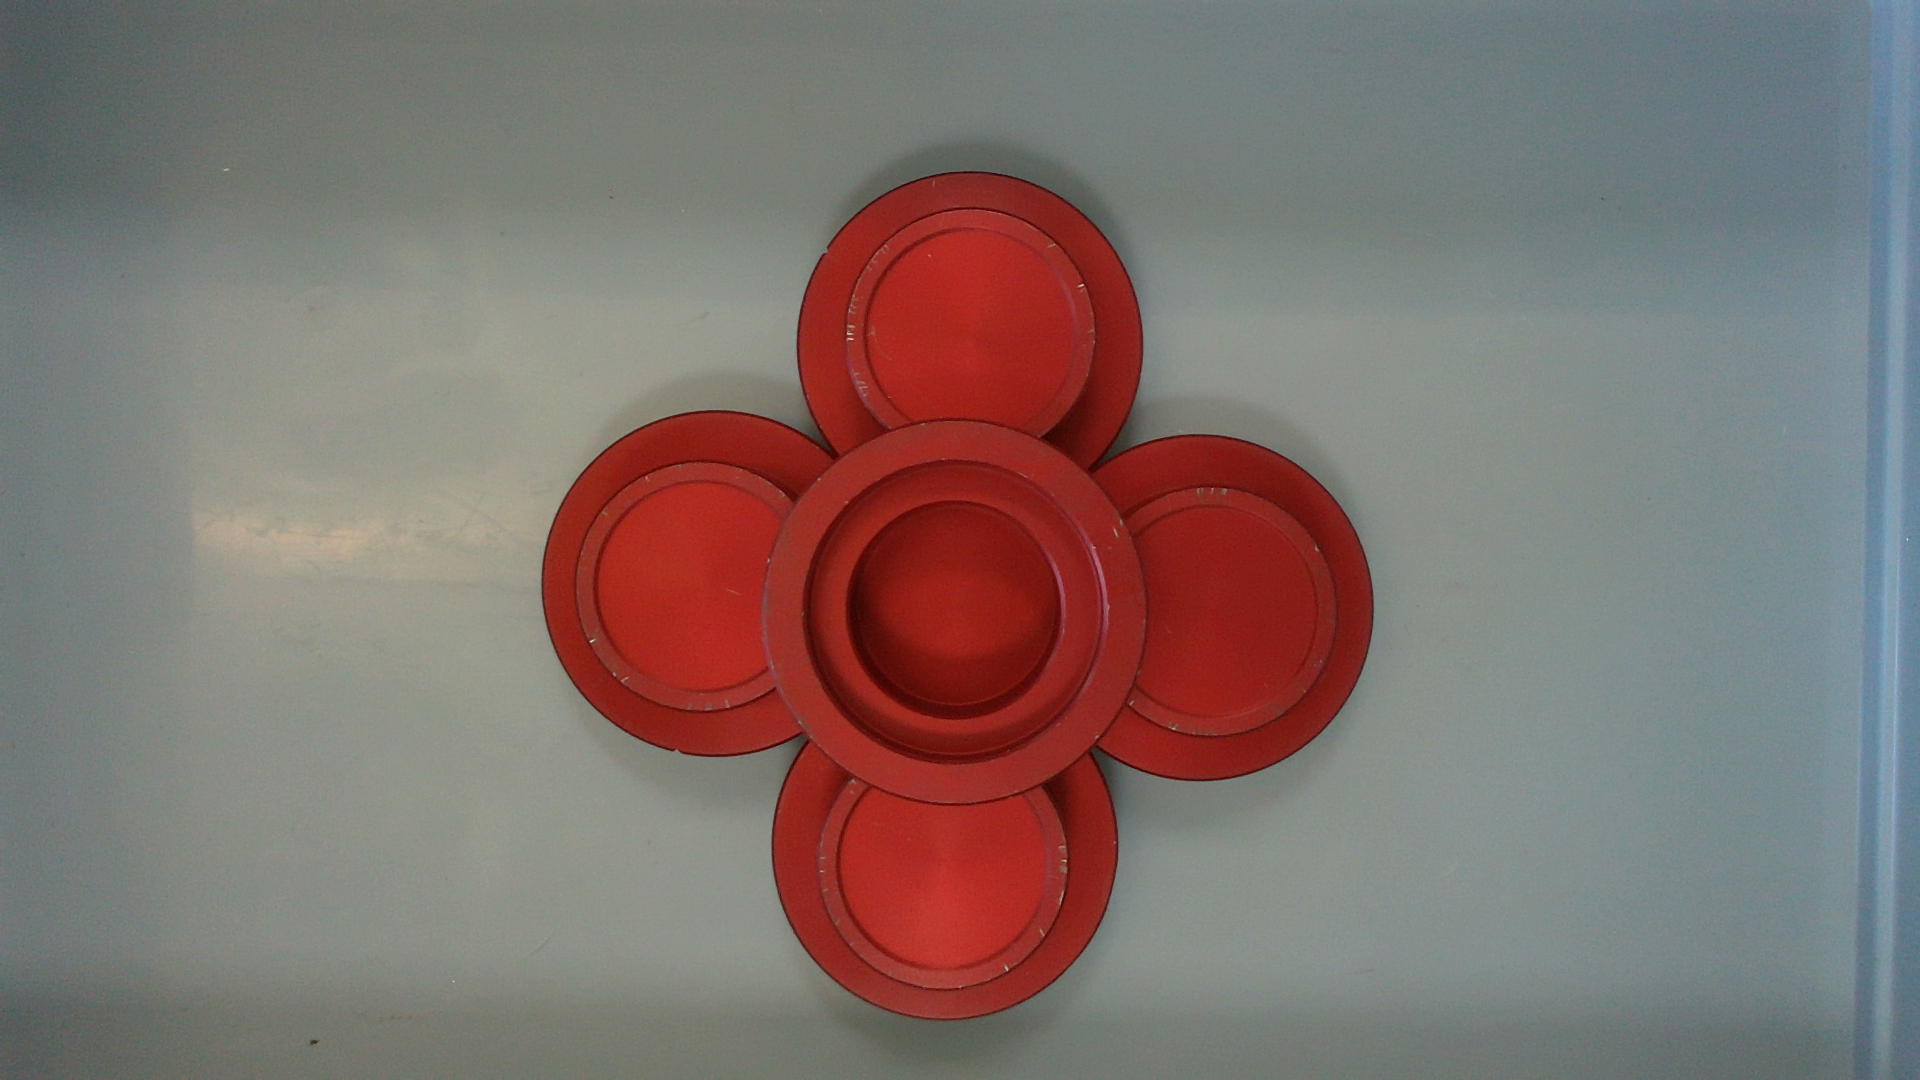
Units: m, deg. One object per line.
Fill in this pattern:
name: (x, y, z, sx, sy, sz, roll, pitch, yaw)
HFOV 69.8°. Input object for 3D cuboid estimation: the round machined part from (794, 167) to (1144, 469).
round machined part: (0.003, -0.055, 0.384, 0.098, 0.042, 0.098, 0, 90, 0)

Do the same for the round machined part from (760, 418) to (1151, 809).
round machined part: (-0.001, 0.018, 0.364, 0.098, 0.042, 0.098, 0, 90, 0)

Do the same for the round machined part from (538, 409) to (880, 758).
round machined part: (-0.069, 0.012, 0.385, 0.098, 0.042, 0.098, 0, 90, 0)

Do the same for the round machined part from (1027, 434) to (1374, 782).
round machined part: (0.067, 0.019, 0.385, 0.098, 0.042, 0.098, 0, 90, 0)

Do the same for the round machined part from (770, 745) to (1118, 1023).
round machined part: (-0.004, 0.086, 0.385, 0.098, 0.042, 0.098, 0, 89, -1)
